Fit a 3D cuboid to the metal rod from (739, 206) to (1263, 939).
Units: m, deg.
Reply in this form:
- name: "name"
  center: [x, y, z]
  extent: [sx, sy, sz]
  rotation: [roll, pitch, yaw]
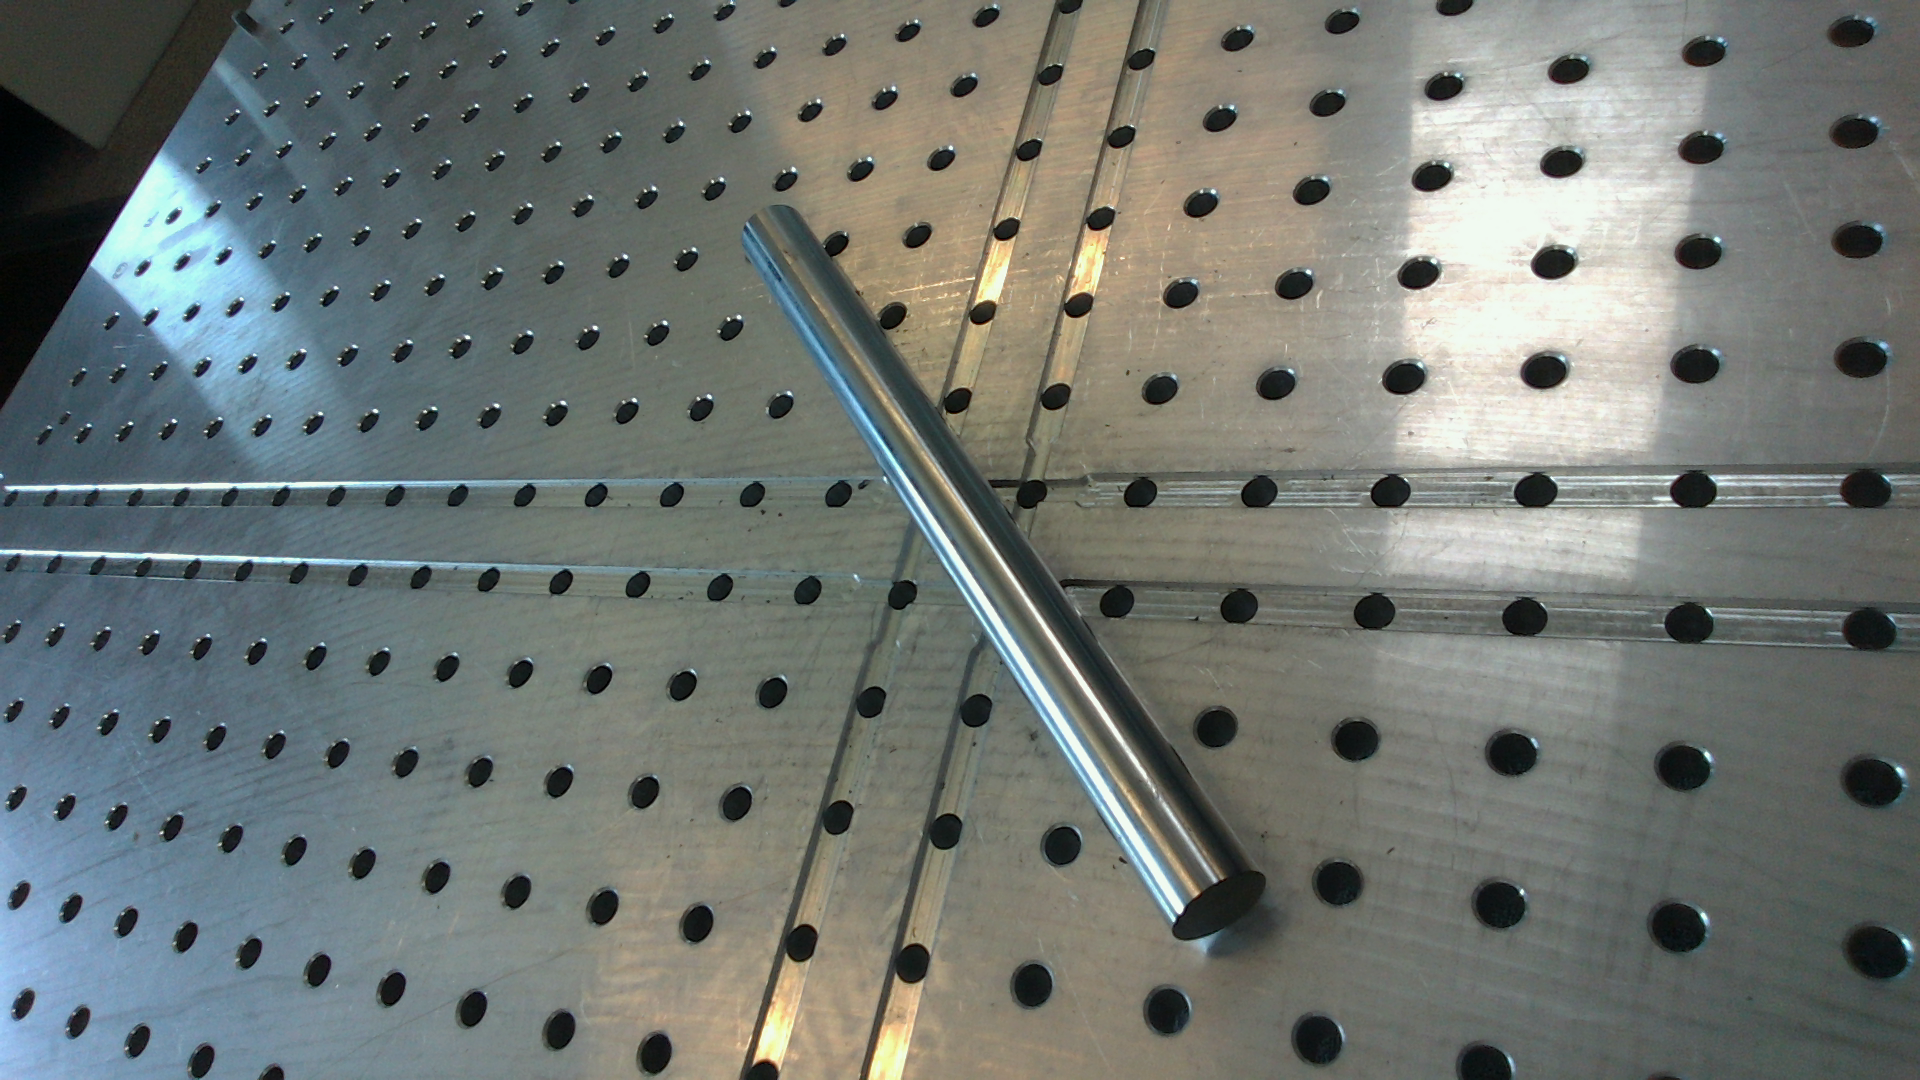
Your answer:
- name: "metal rod"
  center: [-0.005, -0.014, 0.408]
  extent: [0.025, 0.025, 0.299]
  rotation: [-36, 51, 4]
